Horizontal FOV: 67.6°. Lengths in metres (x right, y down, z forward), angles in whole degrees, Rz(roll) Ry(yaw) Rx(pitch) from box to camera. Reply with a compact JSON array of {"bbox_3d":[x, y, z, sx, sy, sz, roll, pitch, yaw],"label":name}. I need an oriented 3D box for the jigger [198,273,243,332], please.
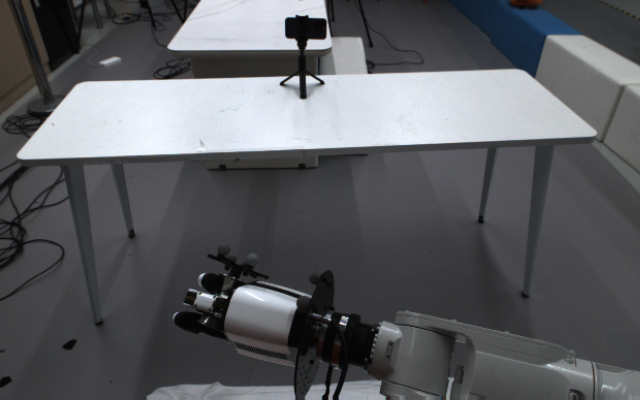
[{"bbox_3d":[-0.126,0.135,0.636,0.043,0.043,0.071,15,70,18],"label":"jigger"}]
